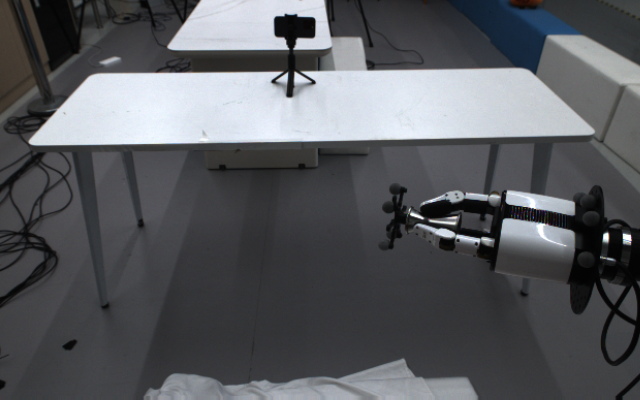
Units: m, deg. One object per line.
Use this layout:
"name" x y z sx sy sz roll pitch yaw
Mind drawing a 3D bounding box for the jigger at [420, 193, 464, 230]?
"jigger" 0.160 0.030 0.657 0.071 0.043 0.043 10 35 22
